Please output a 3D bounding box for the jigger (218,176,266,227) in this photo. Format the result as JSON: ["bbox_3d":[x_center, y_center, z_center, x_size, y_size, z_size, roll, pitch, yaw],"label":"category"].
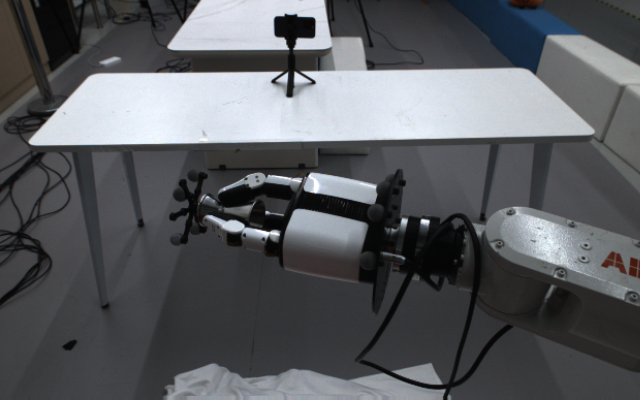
[{"bbox_3d":[-0.100,0.013,0.567,0.071,0.043,0.043,8,35,17],"label":"jigger"}]
